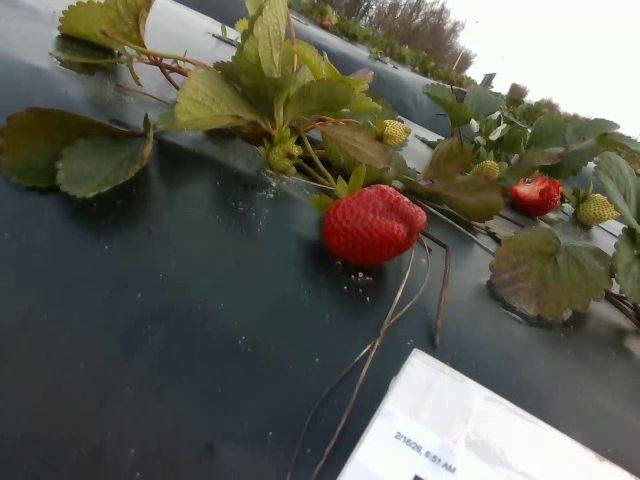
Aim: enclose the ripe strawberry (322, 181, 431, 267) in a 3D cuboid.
[{"bbox_3d":[0.007,-0.002,0.079,0.017,0.014,0.015,-29,20,-24],"label":"ripe strawberry"}]
